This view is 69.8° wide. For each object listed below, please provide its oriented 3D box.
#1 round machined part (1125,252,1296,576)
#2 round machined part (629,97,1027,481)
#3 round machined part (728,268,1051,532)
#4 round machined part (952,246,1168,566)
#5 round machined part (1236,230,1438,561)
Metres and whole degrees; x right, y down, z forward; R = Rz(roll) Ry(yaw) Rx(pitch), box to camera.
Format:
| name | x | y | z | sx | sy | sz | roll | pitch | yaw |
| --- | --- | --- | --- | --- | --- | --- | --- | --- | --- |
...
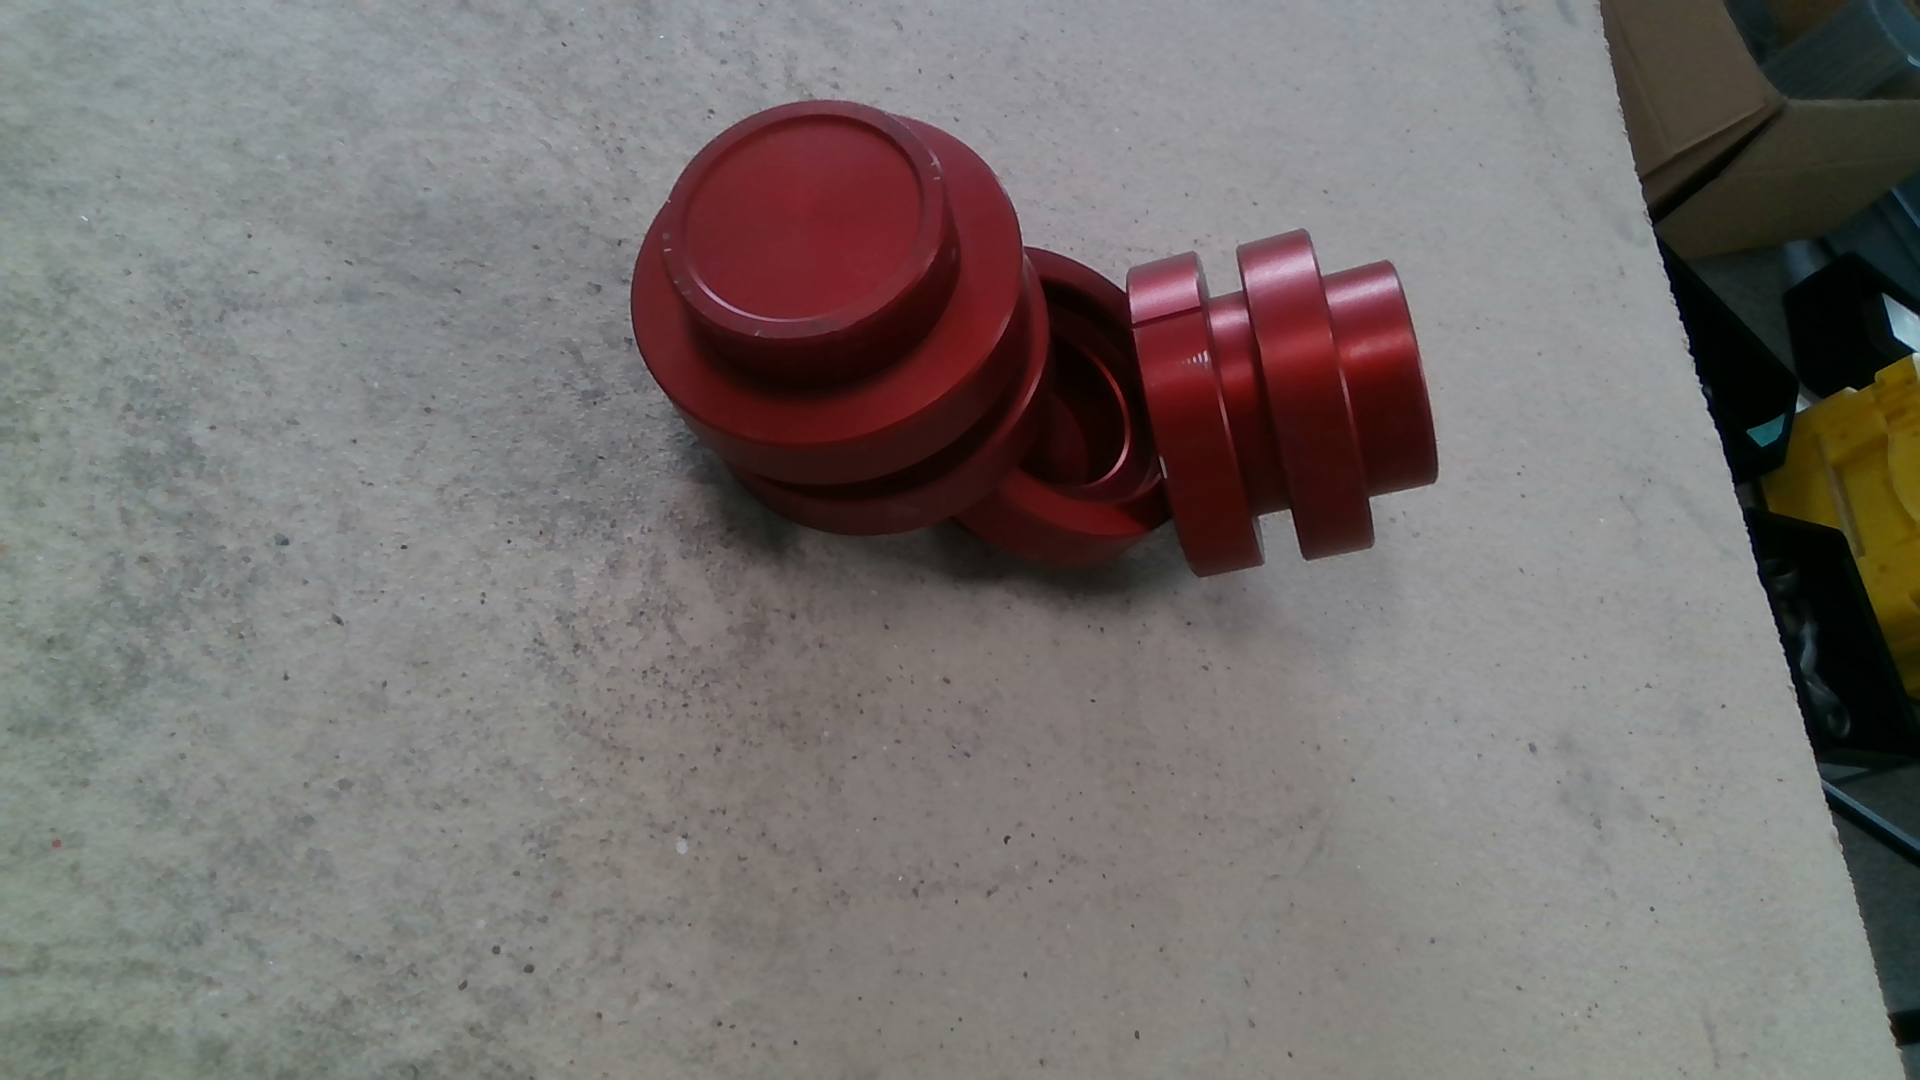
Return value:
| name | x | y | z | sx | sy | sz | roll | pitch | yaw |
| --- | --- | --- | --- | --- | --- | --- | --- | --- | --- |
| round machined part | 0.083 | -0.041 | 0.420 | 0.098 | 0.042 | 0.098 | -12 | 89 | -76 |
| round machined part | -0.034 | -0.067 | 0.335 | 0.098 | 0.042 | 0.098 | -3 | 66 | 7 |
| round machined part | -0.026 | -0.055 | 0.364 | 0.098 | 0.042 | 0.098 | -3 | 66 | 7 |
| round machined part | 0.021 | -0.036 | 0.416 | 0.098 | 0.042 | 0.098 | 14 | 59 | -25 |
| round machined part | 0.115 | -0.046 | 0.416 | 0.098 | 0.042 | 0.098 | -12 | 89 | -76 |
